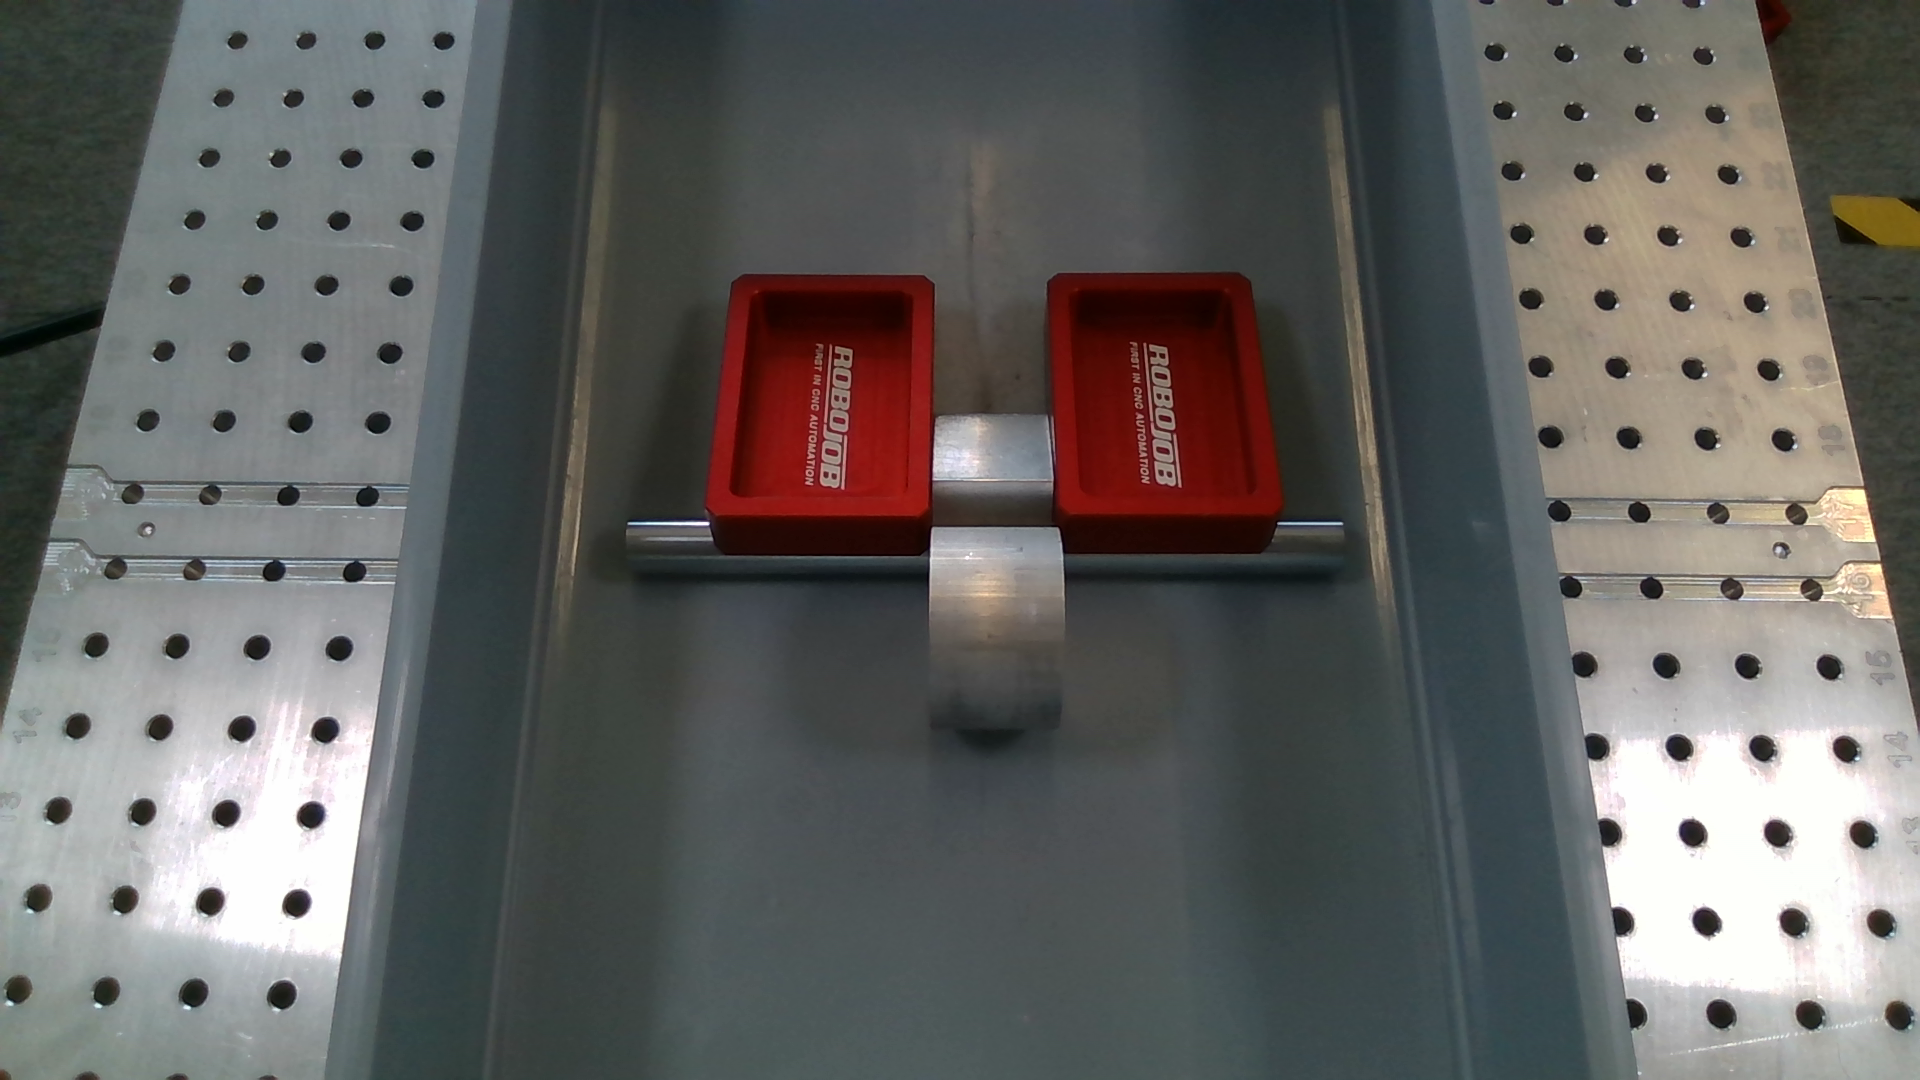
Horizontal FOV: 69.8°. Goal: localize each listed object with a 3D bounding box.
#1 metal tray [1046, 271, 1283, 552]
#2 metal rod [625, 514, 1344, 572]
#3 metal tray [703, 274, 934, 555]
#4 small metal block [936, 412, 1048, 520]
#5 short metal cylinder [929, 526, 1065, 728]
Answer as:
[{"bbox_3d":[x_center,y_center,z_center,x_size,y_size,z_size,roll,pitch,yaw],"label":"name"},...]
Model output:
[{"bbox_3d":[0.083,-0.057,0.590,0.090,0.030,0.130,0,58,0],"label":"metal tray"},{"bbox_3d":[0.010,0.001,0.586,0.300,0.025,0.025,0,70,0],"label":"metal rod"},{"bbox_3d":[-0.057,-0.056,0.590,0.090,0.030,0.130,0,58,0],"label":"metal tray"},{"bbox_3d":[0.013,-0.030,0.587,0.050,0.025,0.050,1,39,0],"label":"small metal block"},{"bbox_3d":[0.014,0.034,0.546,0.050,0.080,0.080,0,70,0],"label":"short metal cylinder"}]
